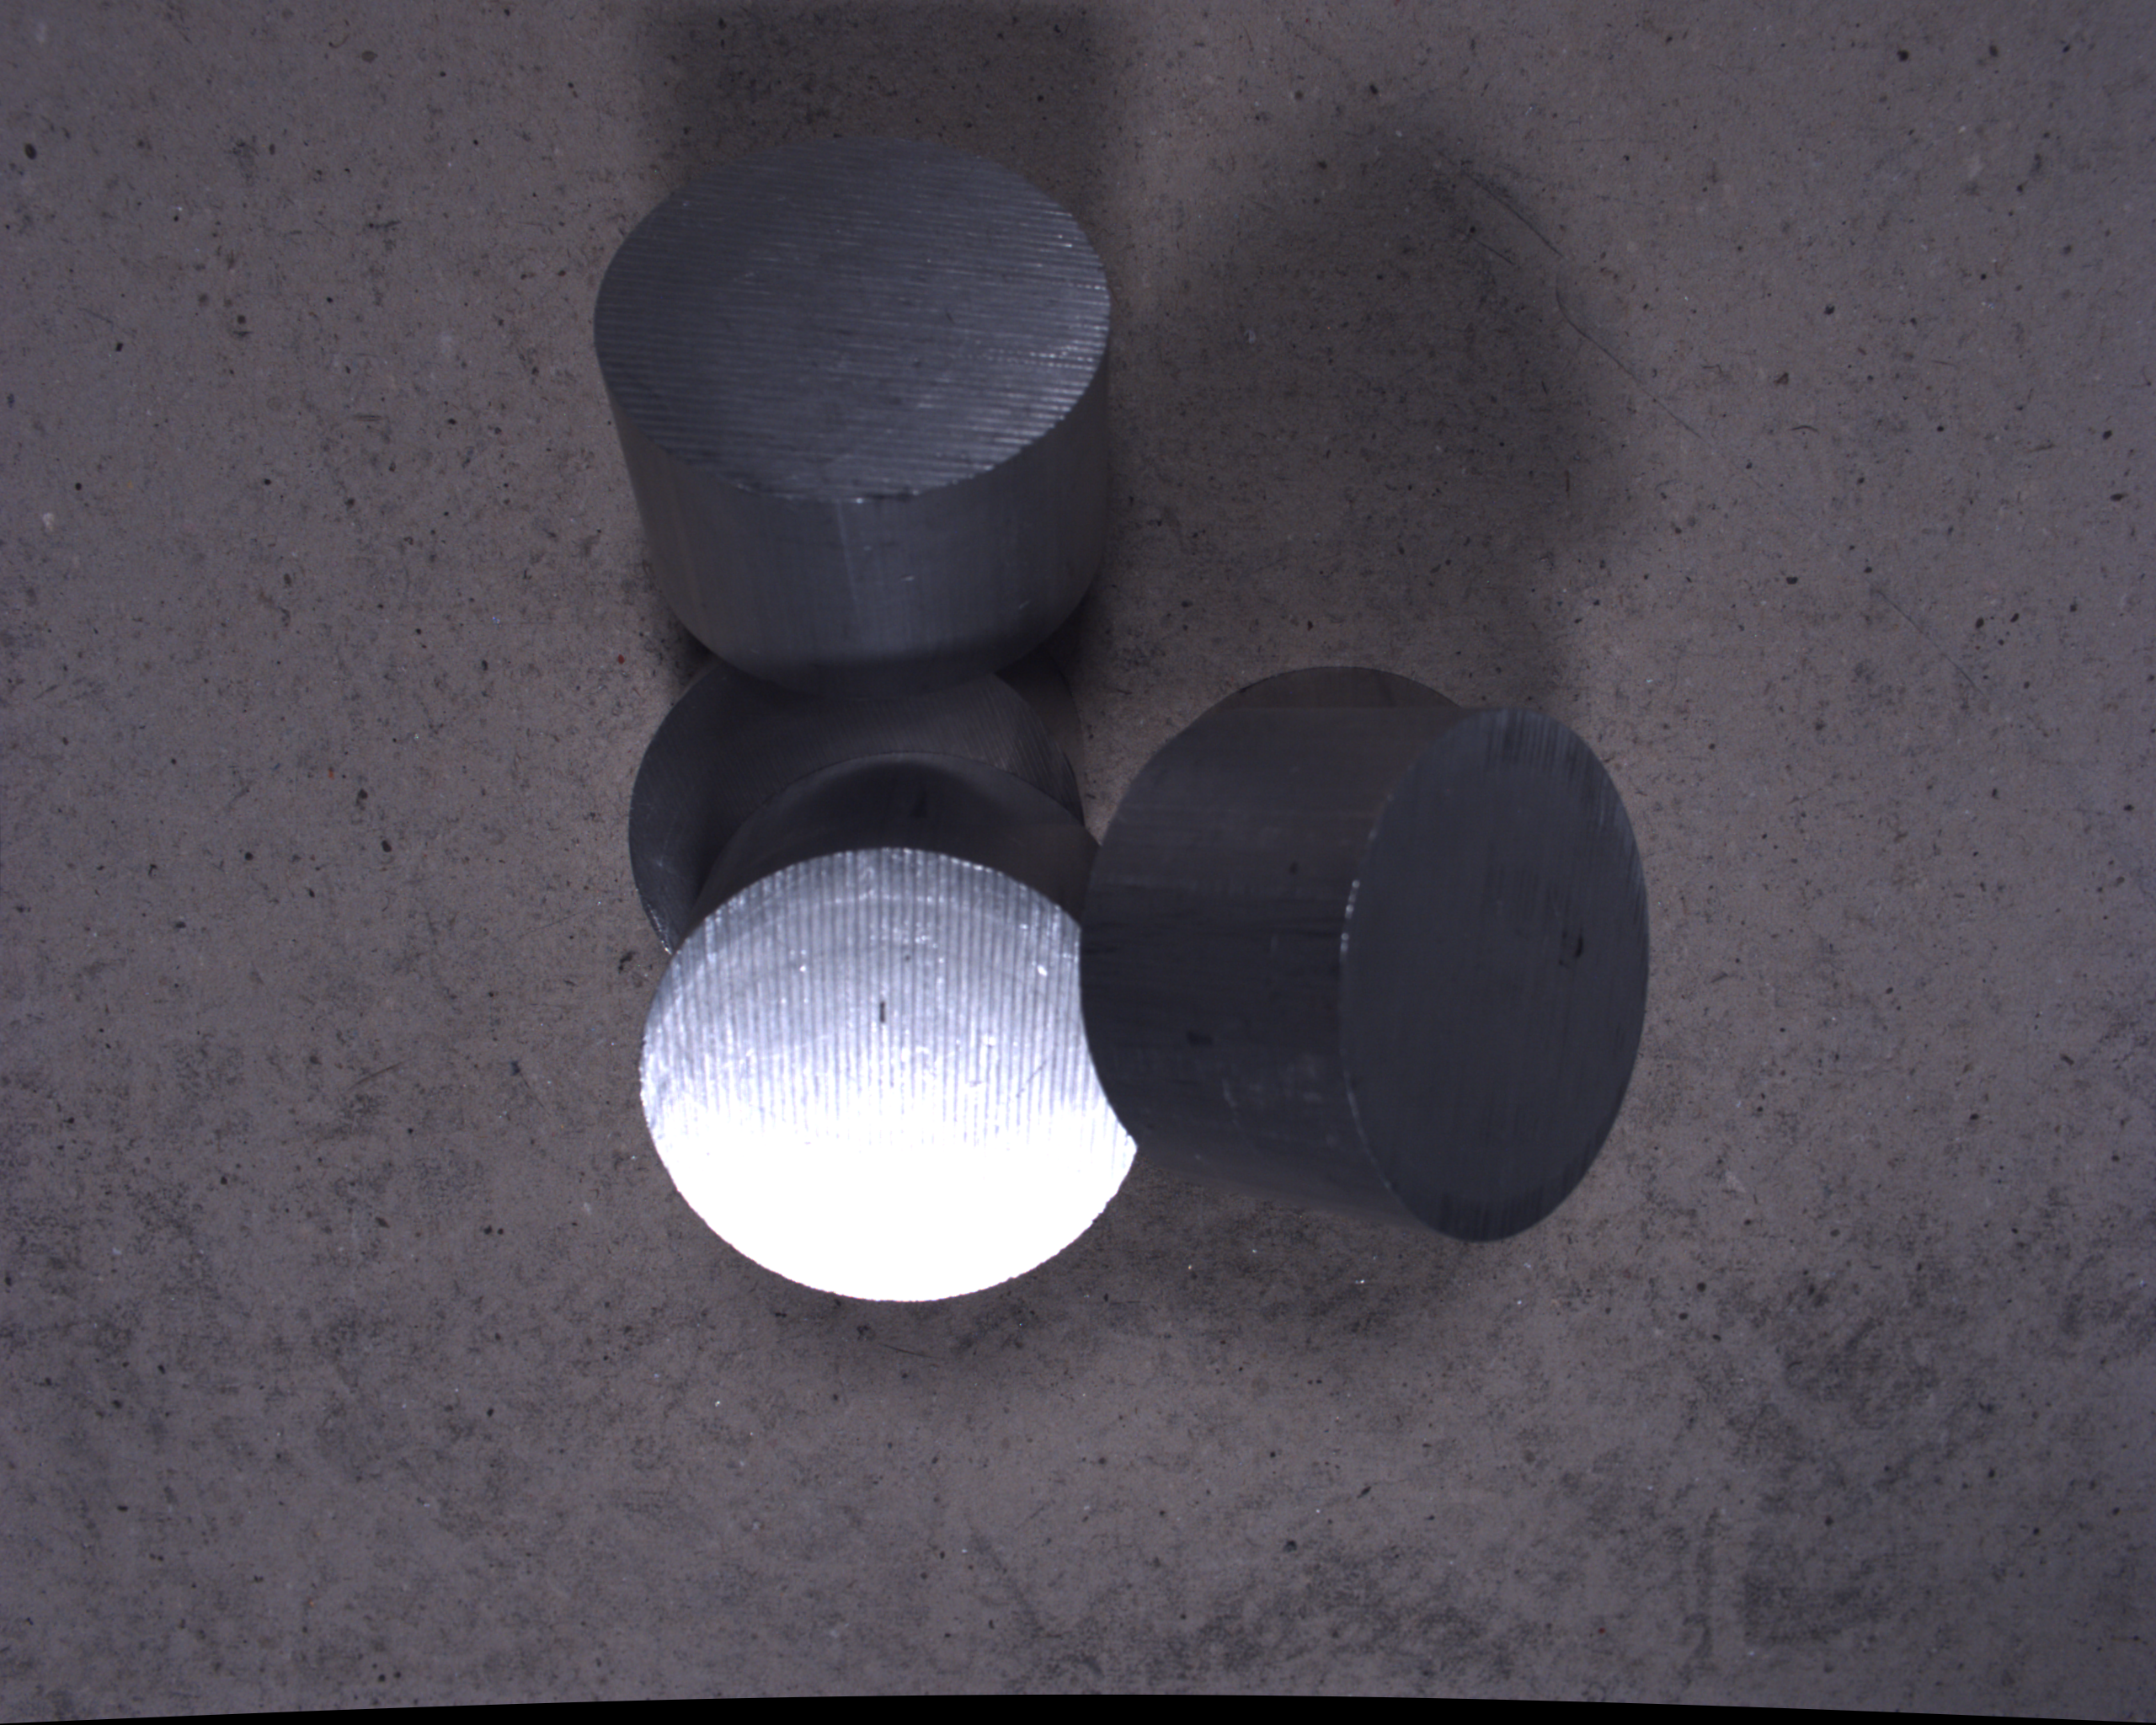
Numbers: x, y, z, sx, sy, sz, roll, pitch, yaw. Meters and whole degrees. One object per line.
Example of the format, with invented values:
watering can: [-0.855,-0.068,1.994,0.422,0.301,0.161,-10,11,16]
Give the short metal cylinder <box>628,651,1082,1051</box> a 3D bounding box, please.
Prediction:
short metal cylinder: [-0.039,-0.011,0.393,0.081,0.050,0.079,0,110,-1]

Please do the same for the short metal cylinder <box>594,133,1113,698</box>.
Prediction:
short metal cylinder: [-0.035,-0.074,0.347,0.081,0.080,0.050,0,149,-1]

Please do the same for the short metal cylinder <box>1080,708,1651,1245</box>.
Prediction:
short metal cylinder: [0.047,0.016,0.327,0.050,0.081,0.080,3,118,45]

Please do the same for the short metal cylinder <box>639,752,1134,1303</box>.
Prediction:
short metal cylinder: [-0.029,0.027,0.353,0.081,0.050,0.079,0,110,-1]

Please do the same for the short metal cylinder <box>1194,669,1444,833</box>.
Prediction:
short metal cylinder: [0.051,0.008,0.401,0.081,0.050,0.079,0,110,-1]
